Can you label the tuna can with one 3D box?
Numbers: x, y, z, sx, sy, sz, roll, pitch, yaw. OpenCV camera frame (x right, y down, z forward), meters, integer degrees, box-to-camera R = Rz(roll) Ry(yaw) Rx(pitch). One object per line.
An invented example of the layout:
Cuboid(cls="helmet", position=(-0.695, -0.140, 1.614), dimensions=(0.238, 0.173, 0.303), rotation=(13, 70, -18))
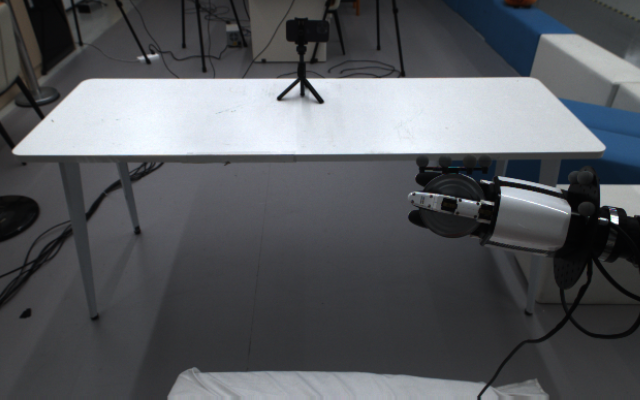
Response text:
Cuboid(cls="tuna can", position=(0.178, 0.005, 0.648), dimensions=(0.085, 0.085, 0.034), rotation=(12, 8, 14))
